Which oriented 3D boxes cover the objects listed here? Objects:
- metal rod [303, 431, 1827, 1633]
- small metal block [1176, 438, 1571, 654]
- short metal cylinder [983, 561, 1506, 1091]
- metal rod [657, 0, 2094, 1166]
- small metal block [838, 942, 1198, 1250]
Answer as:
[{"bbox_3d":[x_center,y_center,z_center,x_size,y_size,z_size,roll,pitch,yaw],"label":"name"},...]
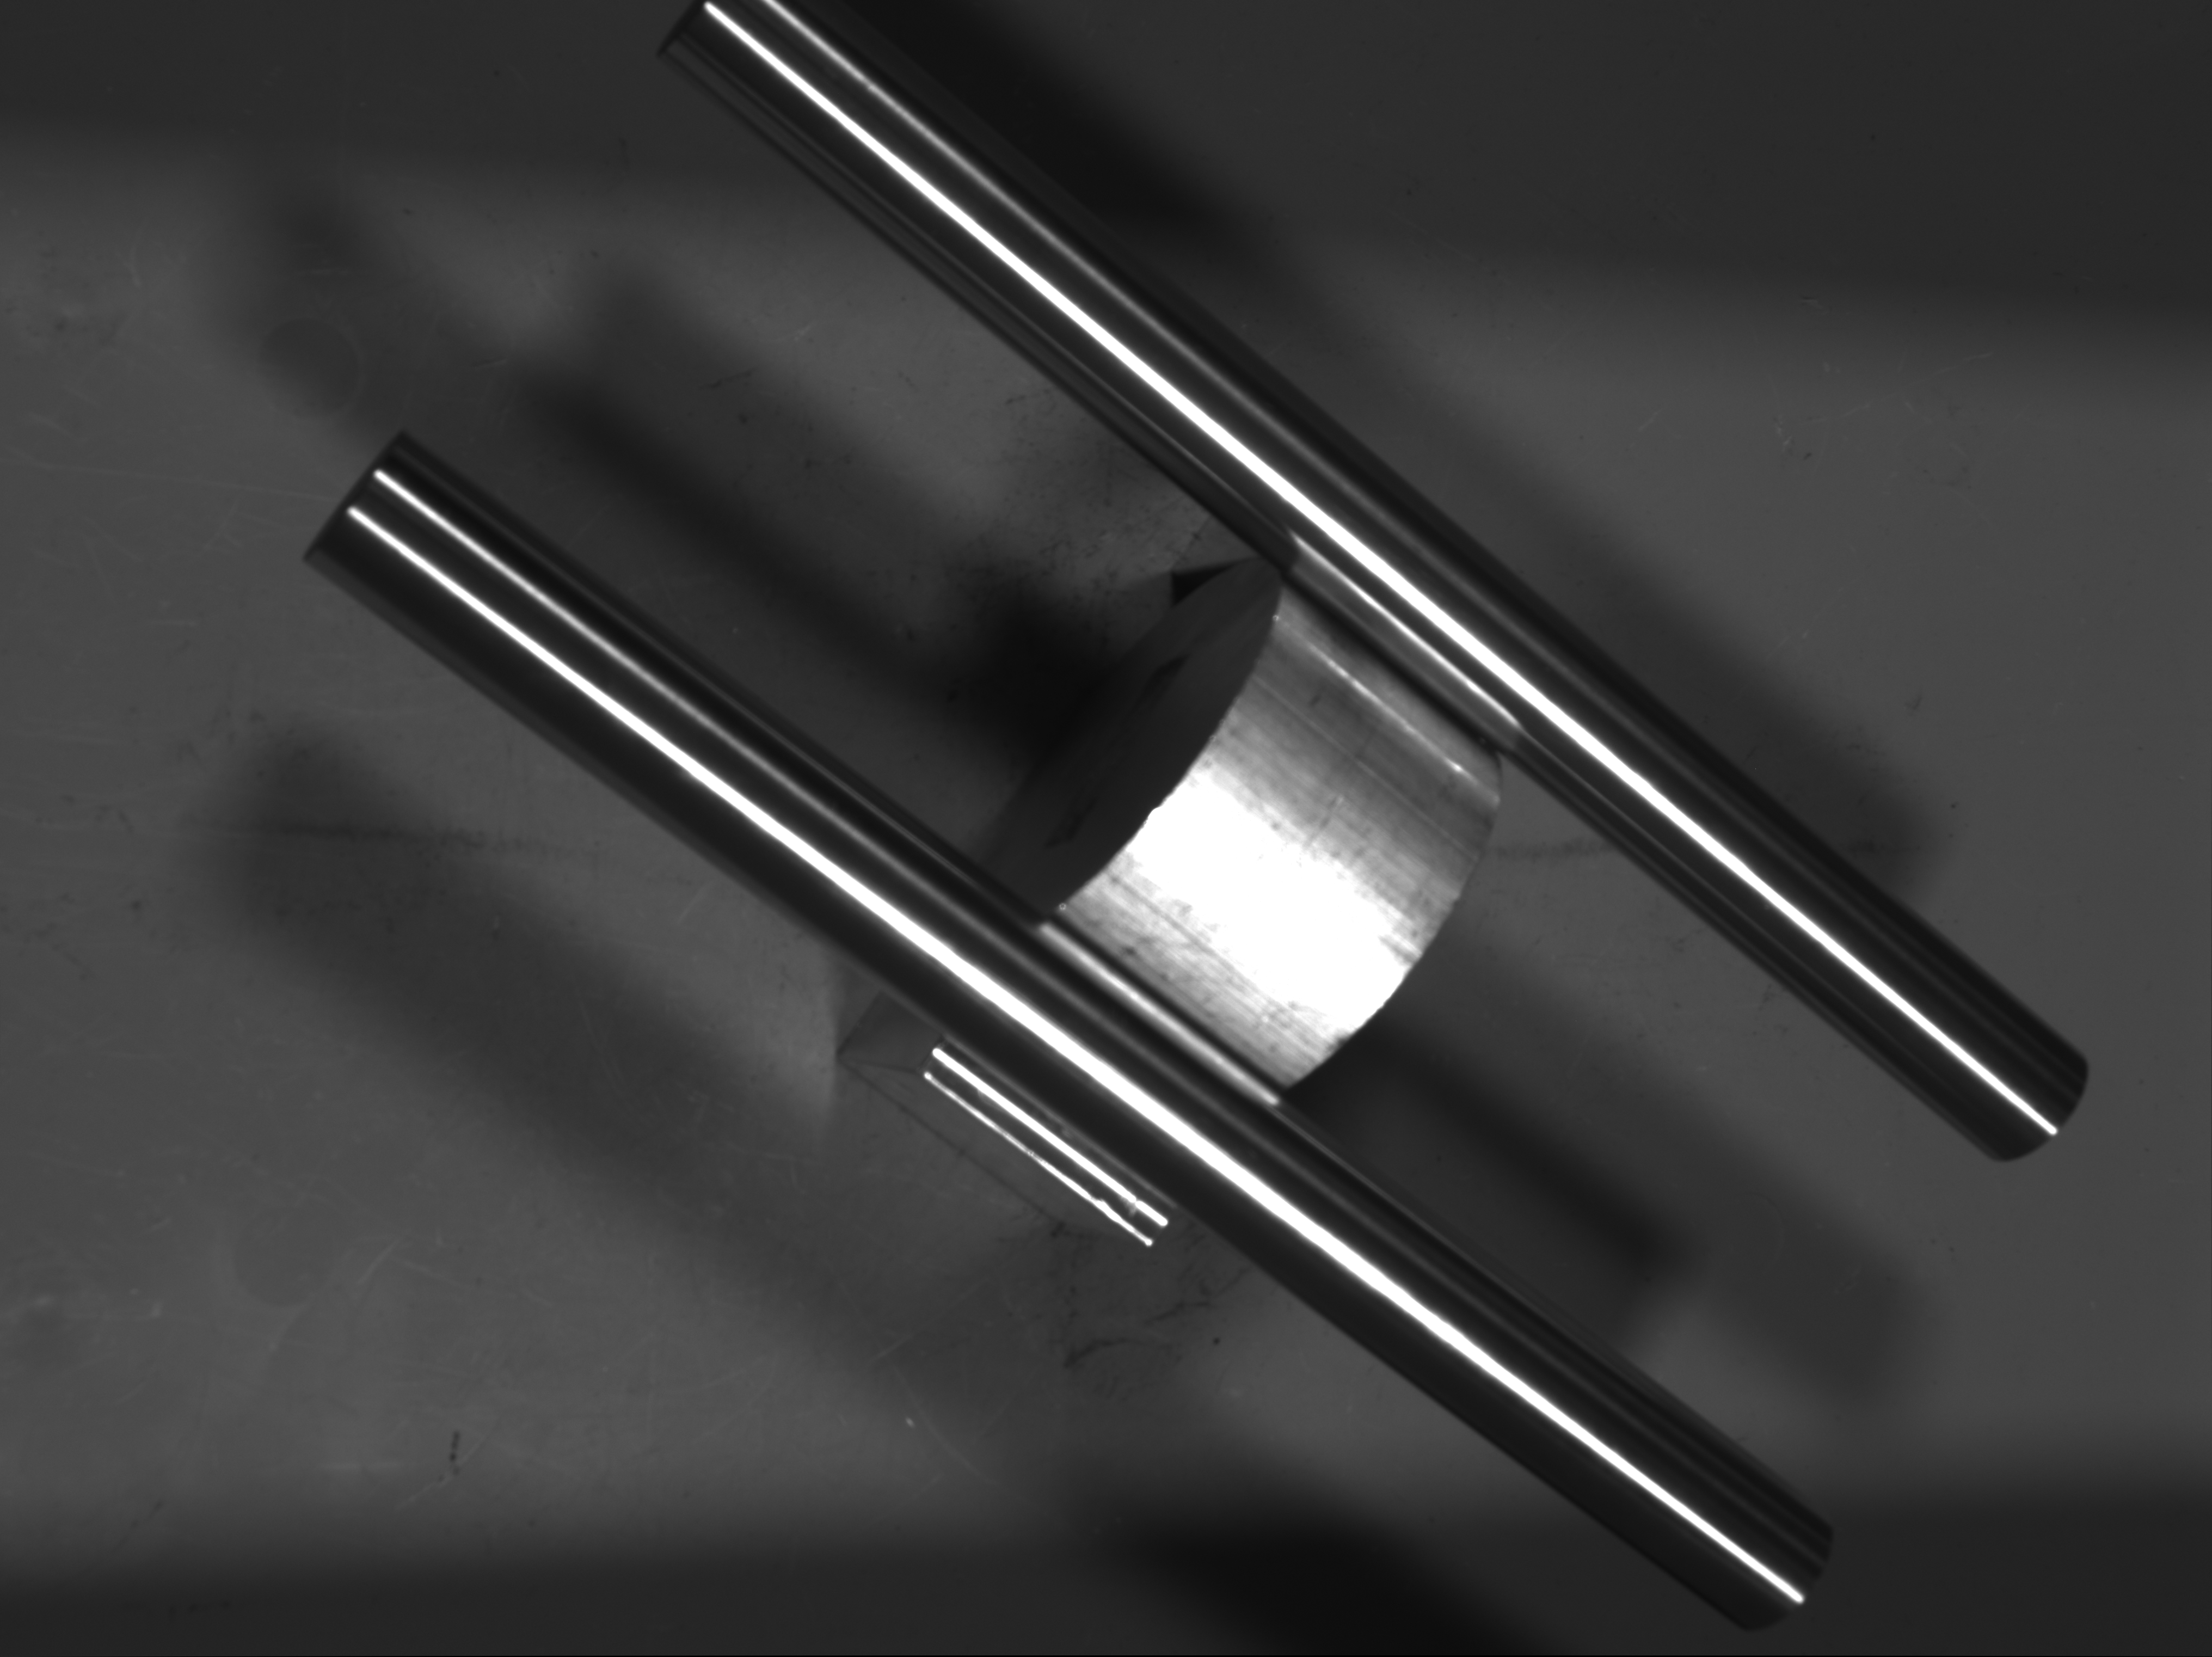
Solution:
[{"bbox_3d":[0.001,0.039,0.591,0.300,0.025,0.025,38,78,-16],"label":"metal rod"},{"bbox_3d":[0.047,-0.041,0.645,0.050,0.050,0.025,39,78,-16],"label":"small metal block"},{"bbox_3d":[0.022,0.001,0.621,0.050,0.080,0.080,38,78,-16],"label":"short metal cylinder"},{"bbox_3d":[0.052,-0.039,0.608,0.300,0.025,0.025,38,78,-16],"label":"metal rod"},{"bbox_3d":[-0.012,0.045,0.624,0.050,0.050,0.025,39,78,-16],"label":"small metal block"}]
